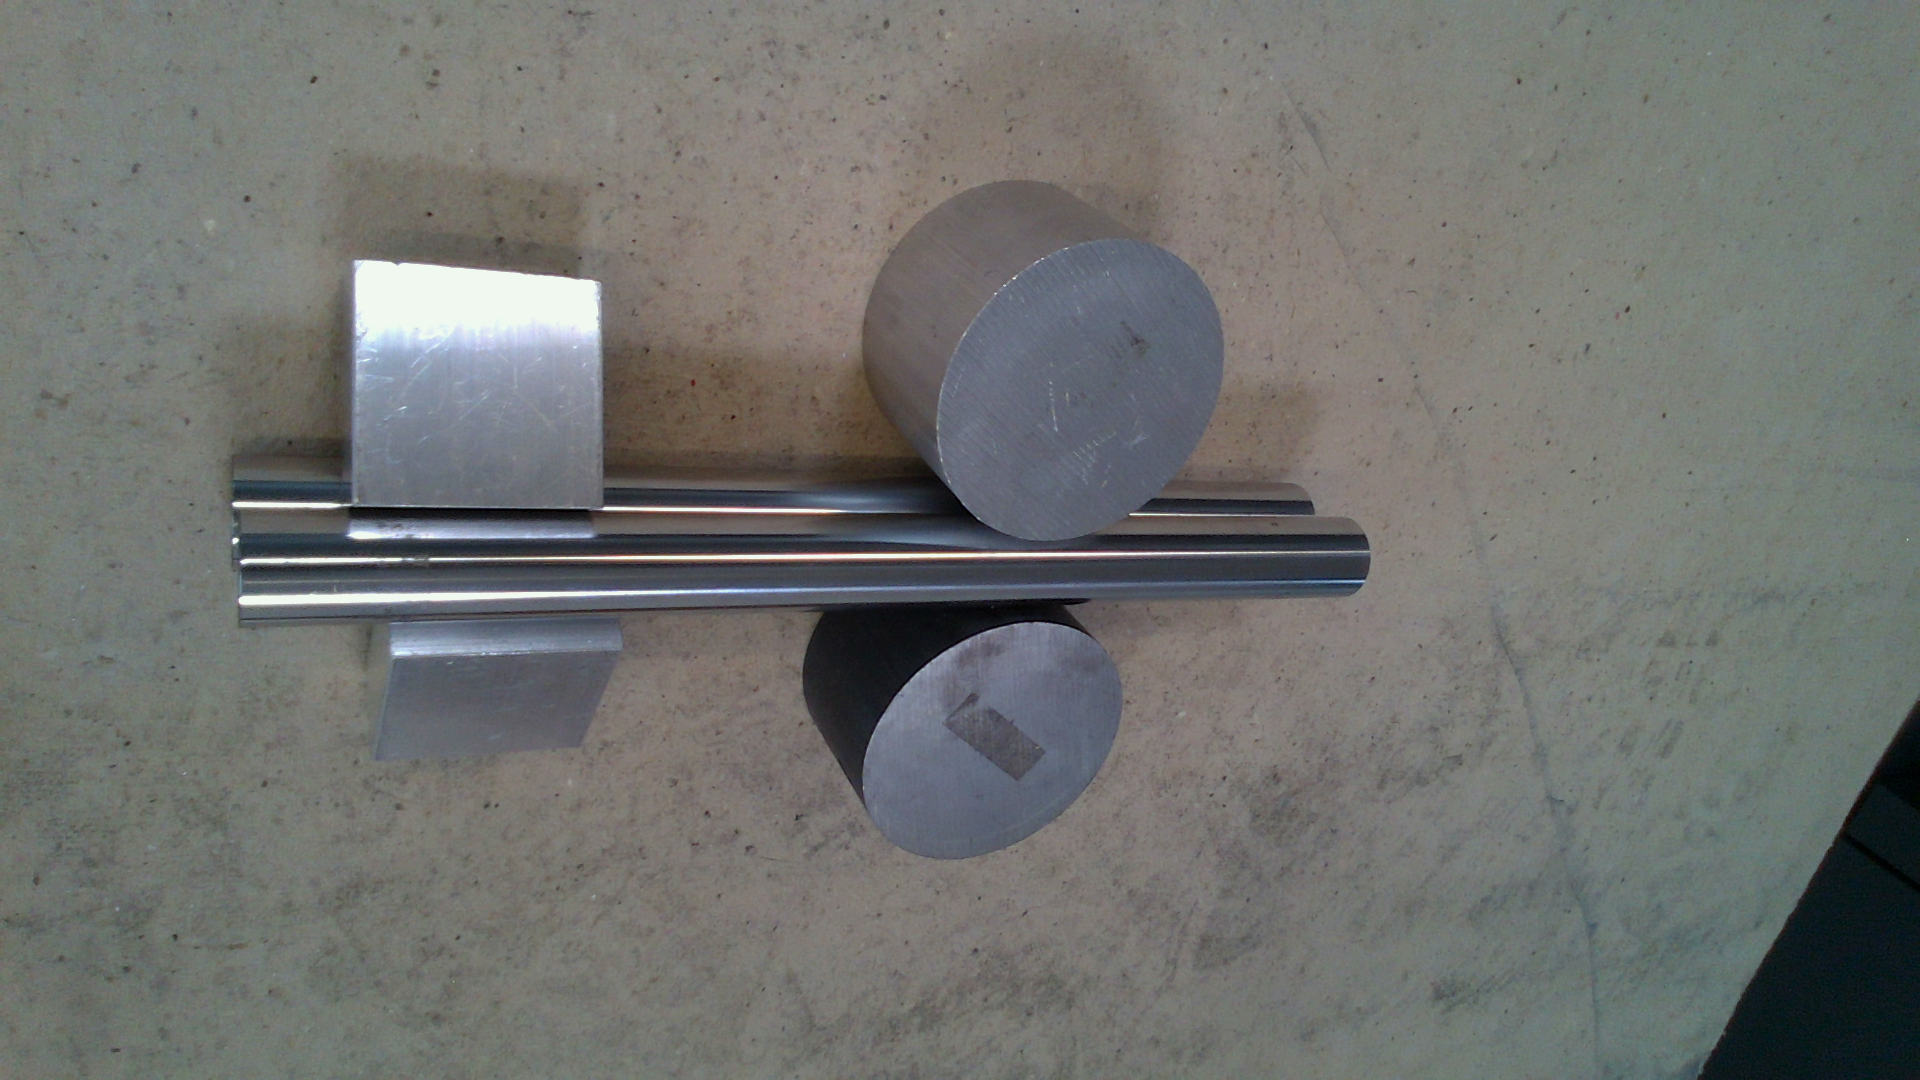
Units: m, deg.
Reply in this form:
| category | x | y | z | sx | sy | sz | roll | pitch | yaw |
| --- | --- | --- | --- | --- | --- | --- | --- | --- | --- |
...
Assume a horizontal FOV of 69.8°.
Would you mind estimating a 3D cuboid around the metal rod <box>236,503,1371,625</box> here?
| category | x | y | z | sx | sy | sz | roll | pitch | yaw |
| --- | --- | --- | --- | --- | --- | --- | --- | --- | --- |
| metal rod | -0.015 | 0.005 | 0.352 | 0.301 | 0.025 | 0.025 | 0 | 118 | -28 |

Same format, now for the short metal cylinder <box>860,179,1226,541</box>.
| category | x | y | z | sx | sy | sz | roll | pitch | yaw |
| --- | --- | --- | --- | --- | --- | --- | --- | --- | --- |
| short metal cylinder | 0.021 | -0.047 | 0.355 | 0.080 | 0.050 | 0.080 | -14 | 124 | -21 |

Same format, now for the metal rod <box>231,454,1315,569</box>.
| category | x | y | z | sx | sy | sz | roll | pitch | yaw |
| --- | --- | --- | --- | --- | --- | --- | --- | --- | --- |
| metal rod | -0.026 | -0.006 | 0.371 | 0.301 | 0.025 | 0.025 | 0 | 118 | -28 |

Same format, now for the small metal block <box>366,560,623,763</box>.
| category | x | y | z | sx | sy | sz | roll | pitch | yaw |
| --- | --- | --- | --- | --- | --- | --- | --- | --- | --- |
| small metal block | -0.114 | 0.029 | 0.333 | 0.050 | 0.025 | 0.050 | 0 | 145 | -29 |

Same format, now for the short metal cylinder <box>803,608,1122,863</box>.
| category | x | y | z | sx | sy | sz | roll | pitch | yaw |
| --- | --- | --- | --- | --- | --- | --- | --- | --- | --- |
| short metal cylinder | 0.000 | 0.046 | 0.401 | 0.080 | 0.050 | 0.080 | -14 | 124 | -21 |

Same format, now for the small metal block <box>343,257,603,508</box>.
| category | x | y | z | sx | sy | sz | roll | pitch | yaw |
| --- | --- | --- | --- | --- | --- | --- | --- | --- | --- |
| small metal block | -0.106 | -0.032 | 0.300 | 0.050 | 0.025 | 0.050 | 0 | 91 | -28 |
